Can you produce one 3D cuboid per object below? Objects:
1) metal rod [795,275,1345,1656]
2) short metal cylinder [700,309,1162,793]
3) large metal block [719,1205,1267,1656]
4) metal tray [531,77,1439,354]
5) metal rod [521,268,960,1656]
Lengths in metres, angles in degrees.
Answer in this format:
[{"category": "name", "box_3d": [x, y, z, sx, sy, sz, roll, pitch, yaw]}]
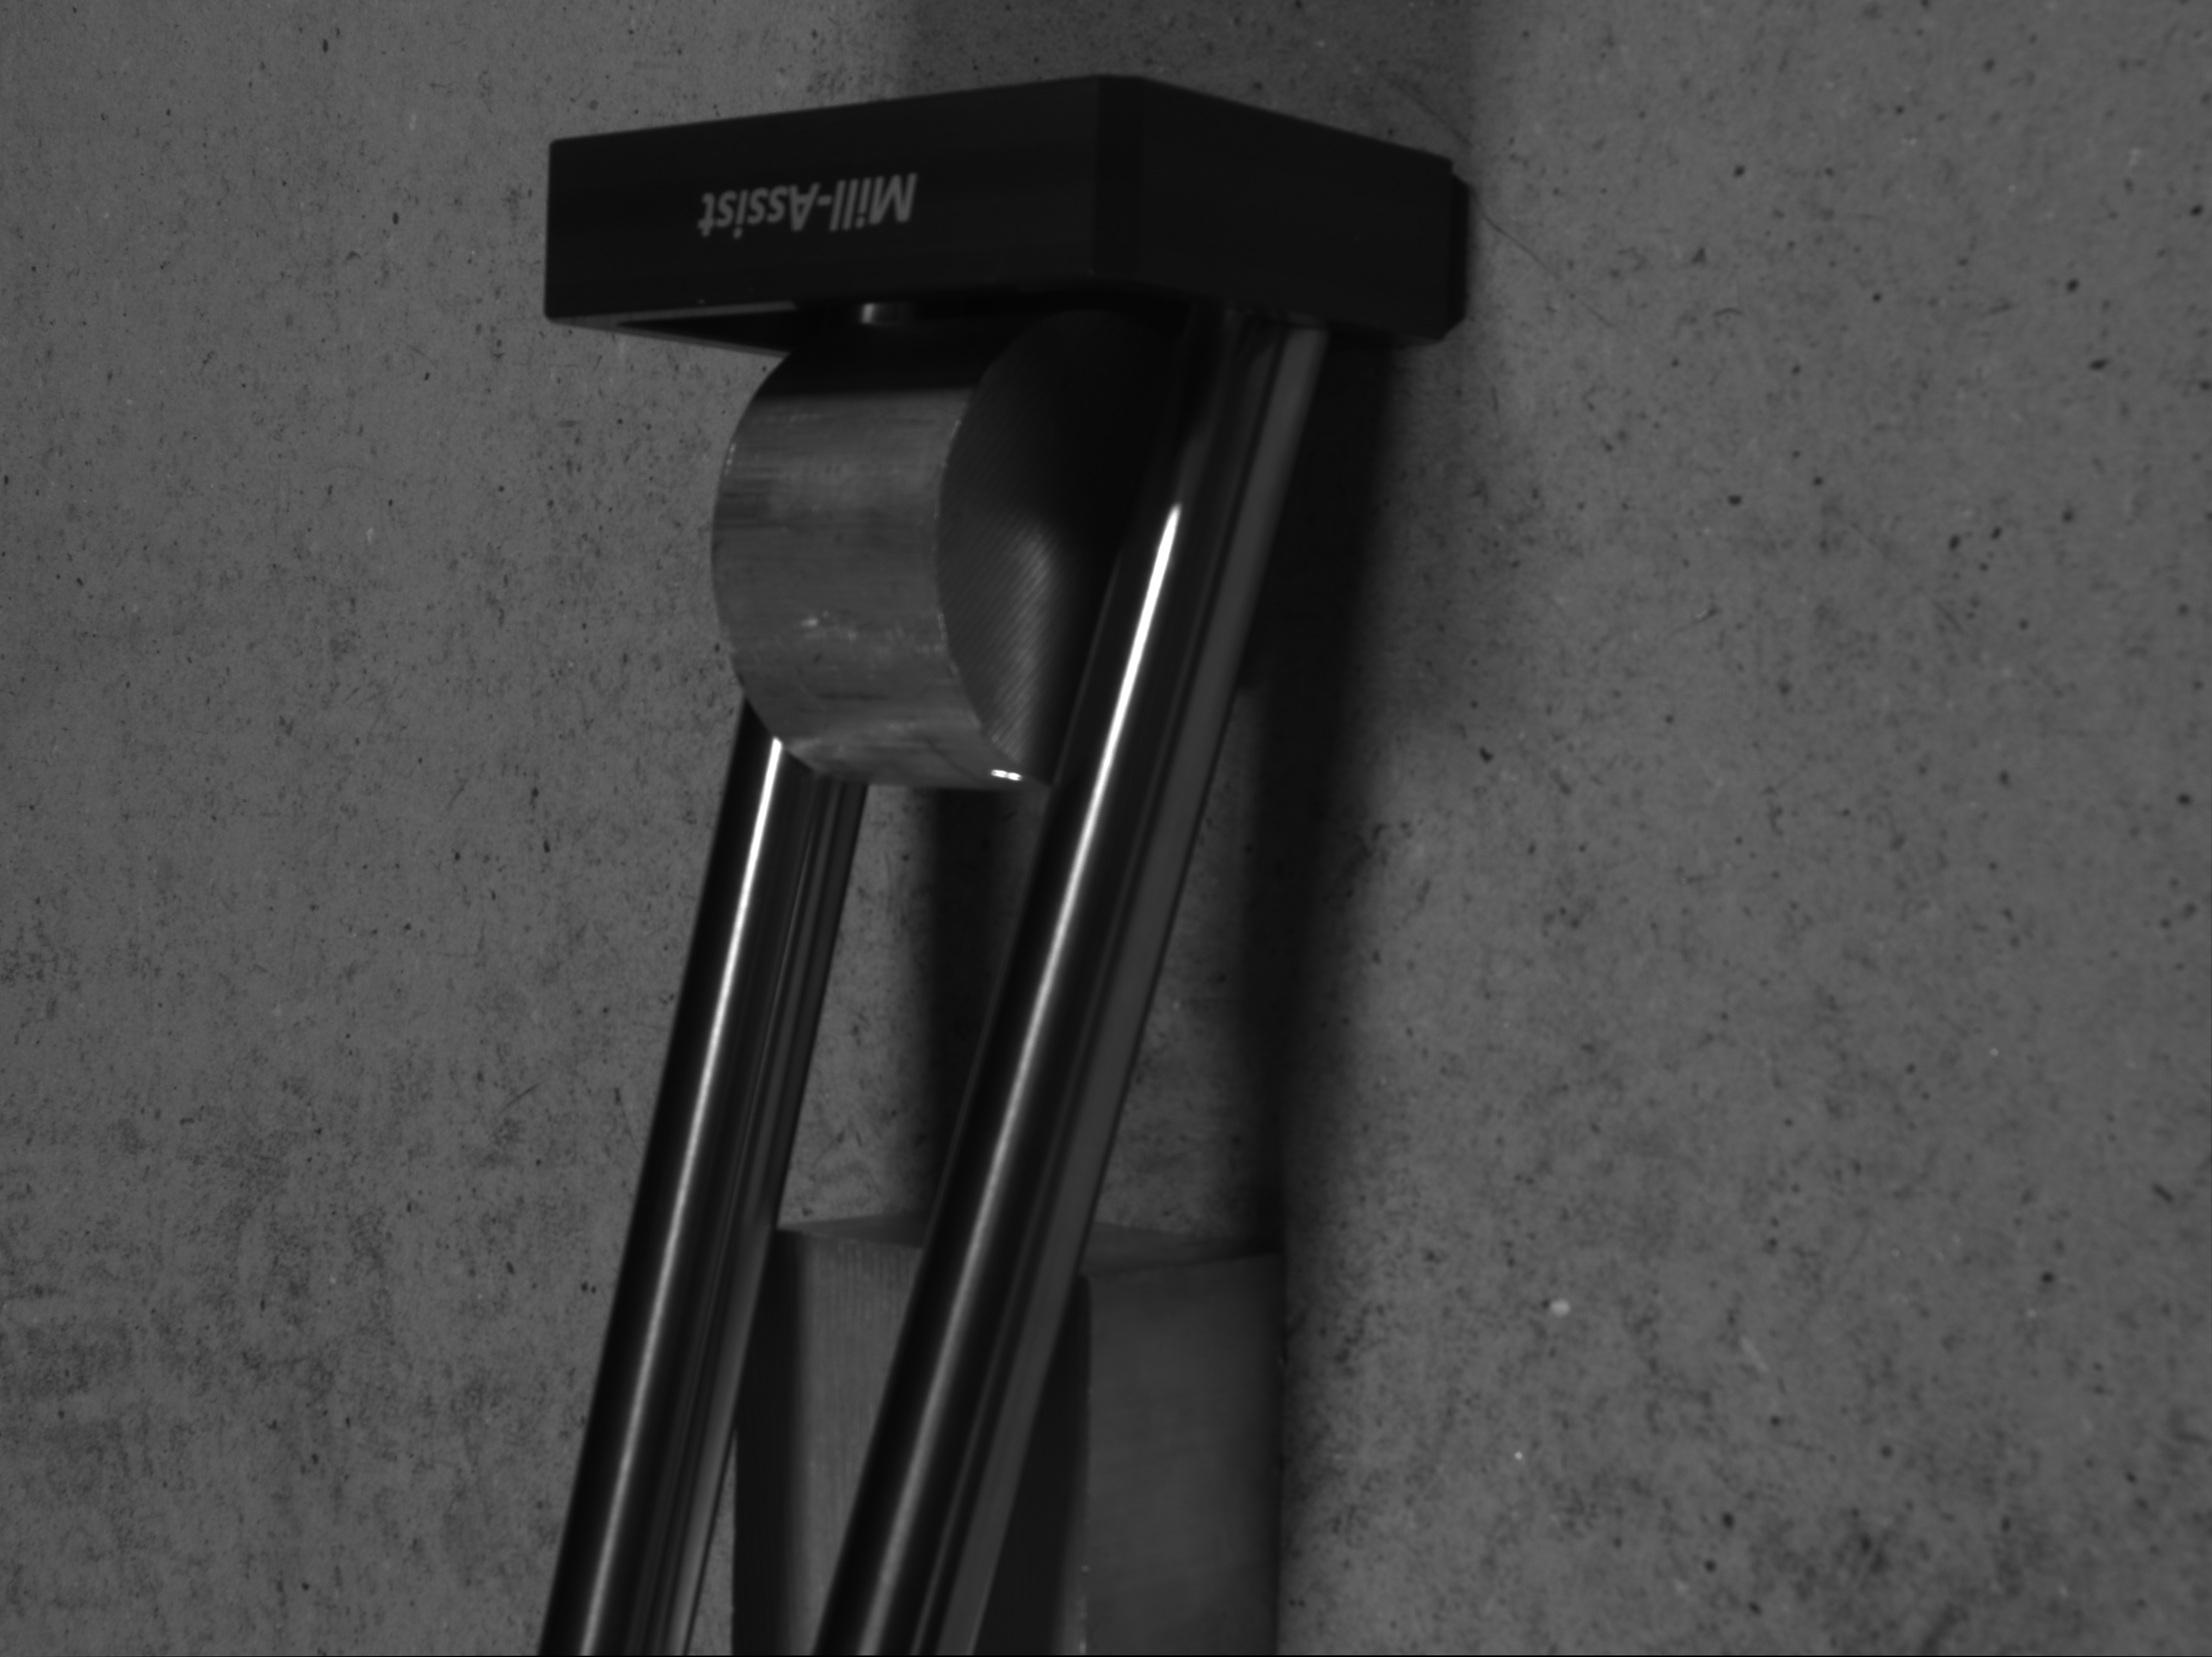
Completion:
[{"category": "metal rod", "box_3d": [-0.013, 0.050, 0.587, 0.025, 0.025, 0.300, 11, 82, 39]}, {"category": "short metal cylinder", "box_3d": [-0.022, -0.046, 0.620, 0.050, 0.080, 0.080, 2, 91, 39]}, {"category": "large metal block", "box_3d": [-0.020, 0.111, 0.634, 0.080, 0.050, 0.080, 2, 91, 39]}, {"category": "metal tray", "box_3d": [-0.021, -0.098, 0.612, 0.130, 0.090, 0.030, 3, 92, 39]}, {"category": "metal rod", "box_3d": [-0.067, 0.047, 0.632, 0.025, 0.025, 0.300, 2, 76, 39]}]
